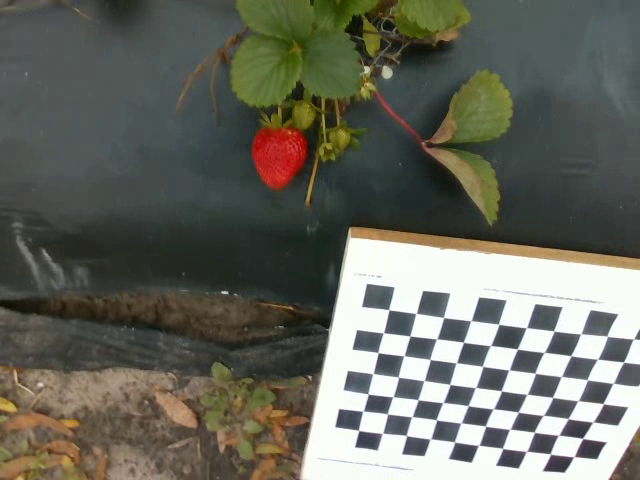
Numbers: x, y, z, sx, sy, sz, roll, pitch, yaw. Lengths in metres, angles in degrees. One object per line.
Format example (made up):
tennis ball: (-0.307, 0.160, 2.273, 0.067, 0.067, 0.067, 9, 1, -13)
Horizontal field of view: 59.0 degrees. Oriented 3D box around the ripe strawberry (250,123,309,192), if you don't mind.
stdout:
ripe strawberry: (-0.009, -0.018, 0.125, 0.018, 0.017, 0.014, 8, -17, -14)
